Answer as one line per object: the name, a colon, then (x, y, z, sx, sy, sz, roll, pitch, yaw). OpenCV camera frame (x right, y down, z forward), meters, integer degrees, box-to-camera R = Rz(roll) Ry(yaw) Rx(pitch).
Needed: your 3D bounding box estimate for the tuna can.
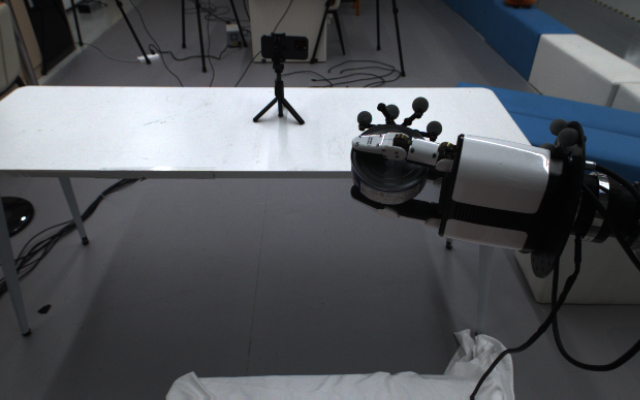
tuna can: (0.077, -0.043, 0.524, 0.085, 0.034, 0.085, -2, 56, 3)
